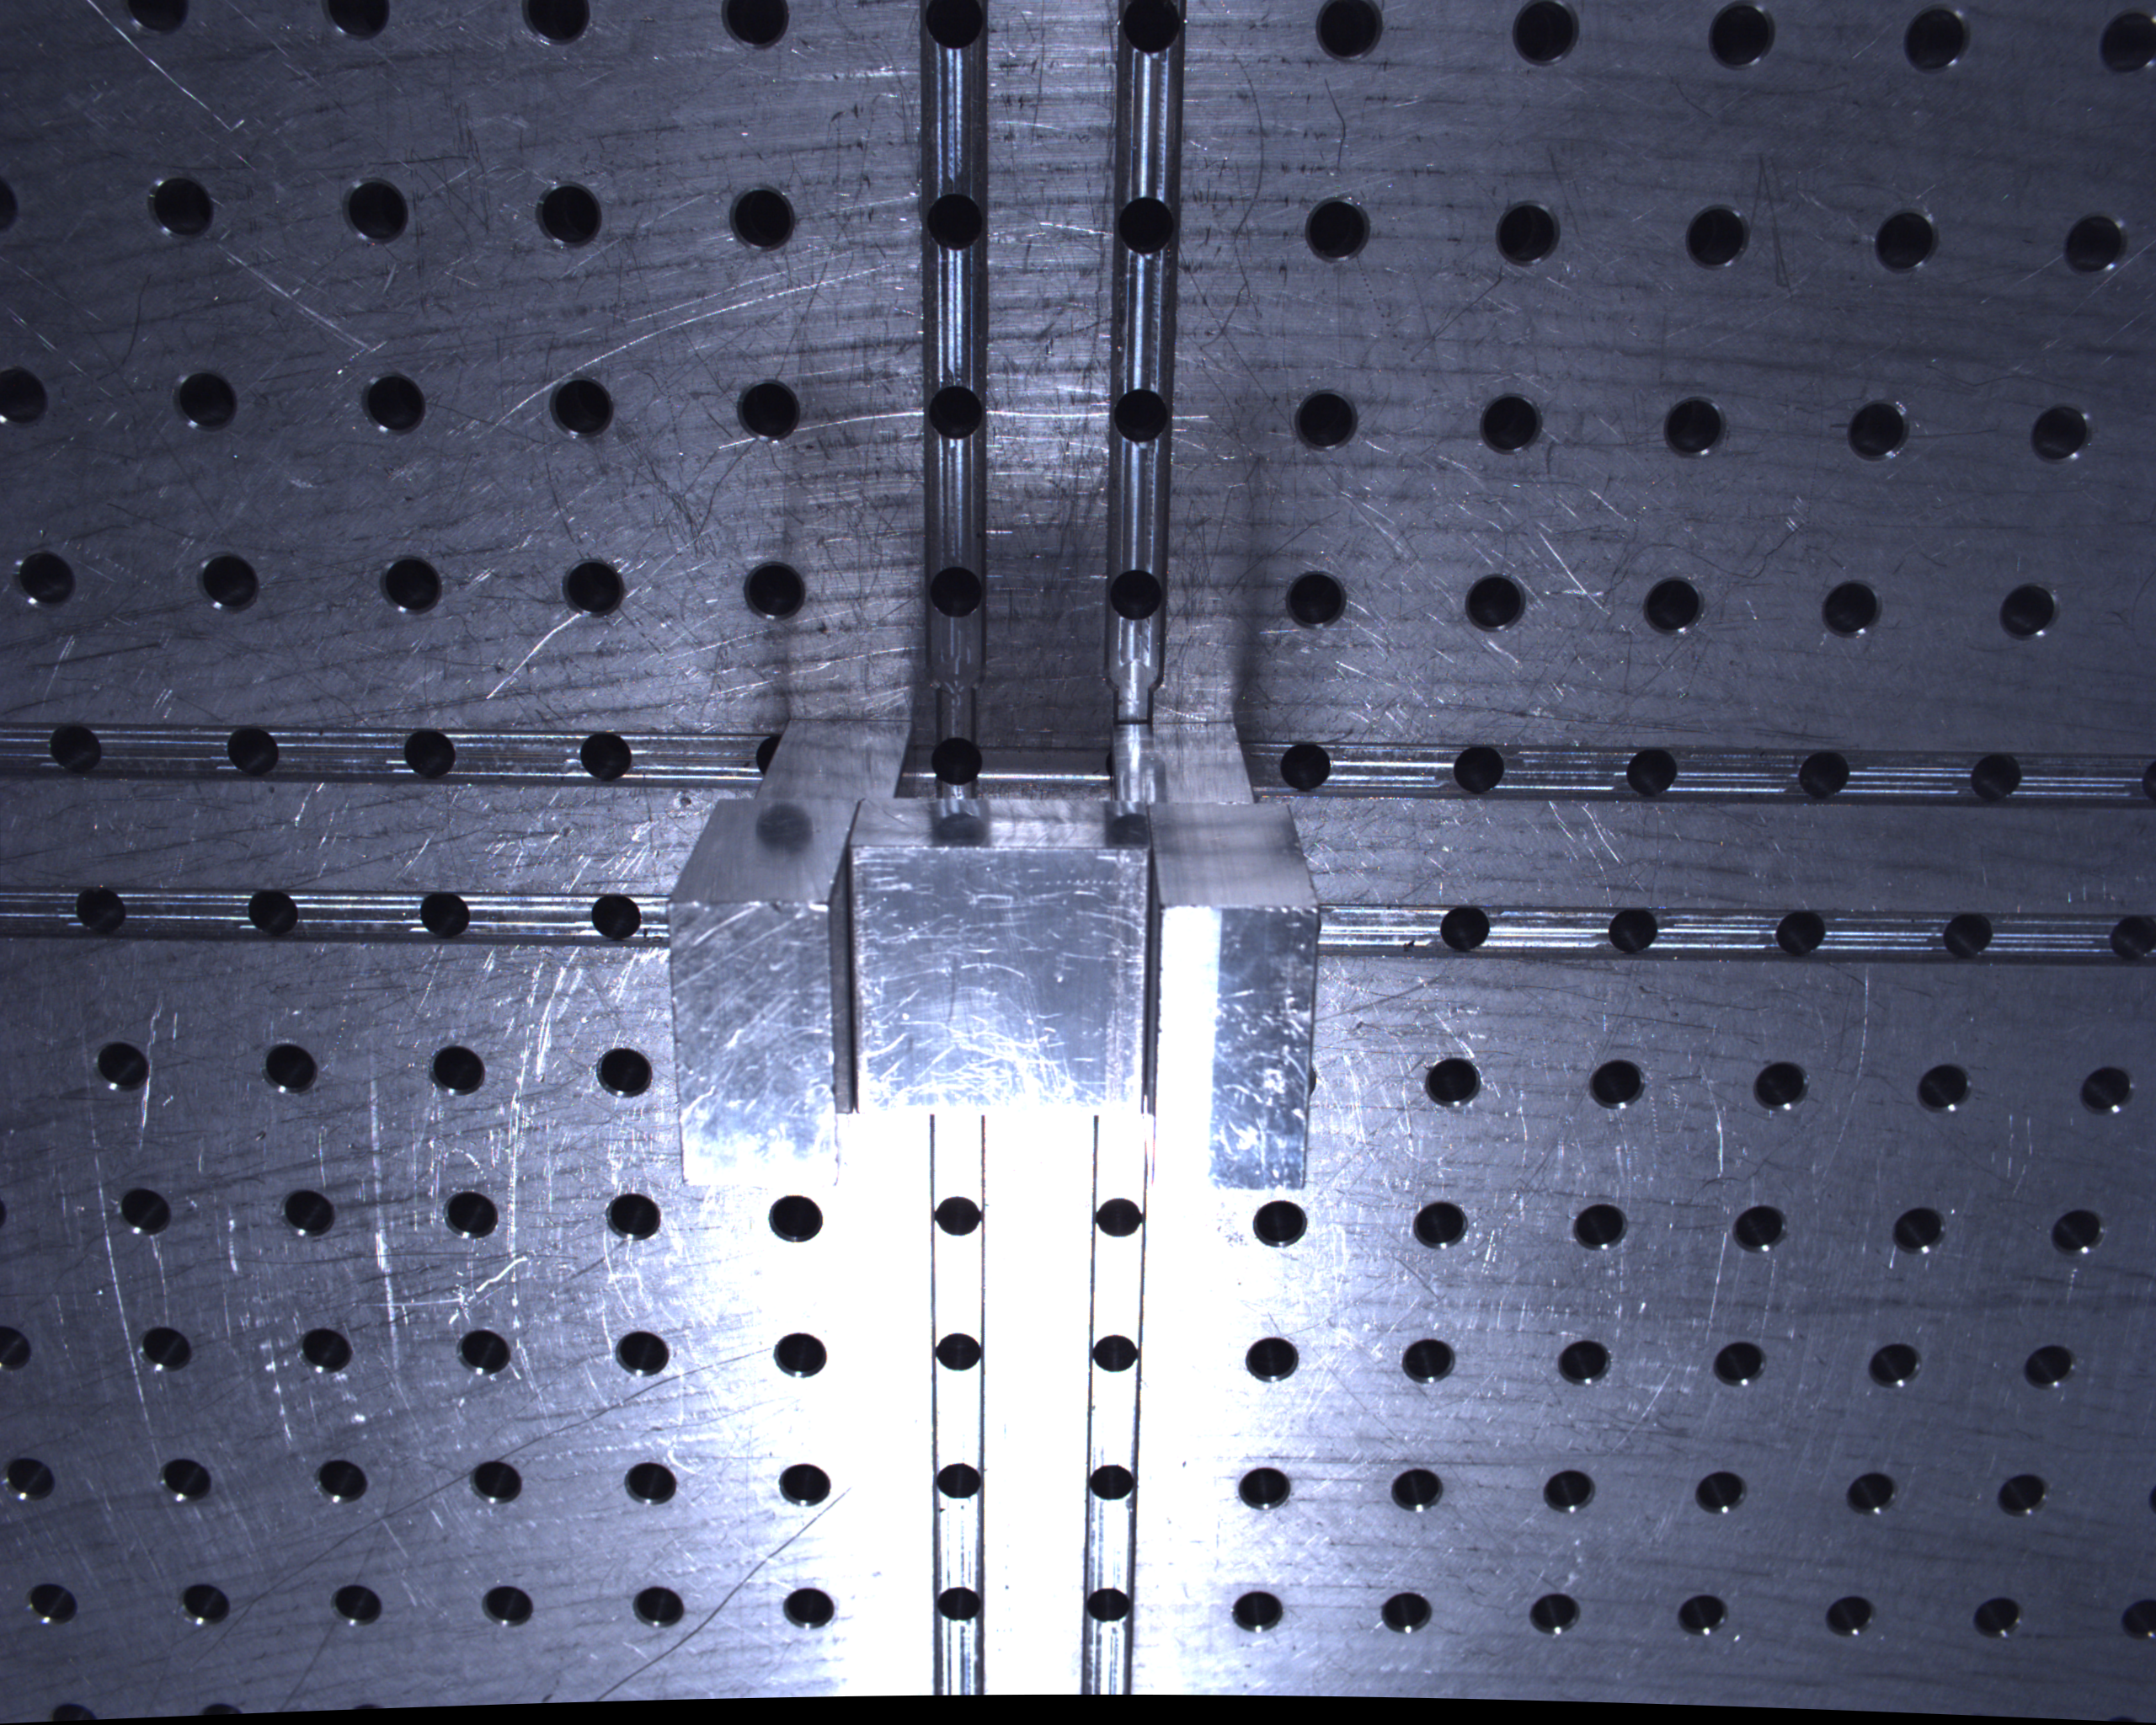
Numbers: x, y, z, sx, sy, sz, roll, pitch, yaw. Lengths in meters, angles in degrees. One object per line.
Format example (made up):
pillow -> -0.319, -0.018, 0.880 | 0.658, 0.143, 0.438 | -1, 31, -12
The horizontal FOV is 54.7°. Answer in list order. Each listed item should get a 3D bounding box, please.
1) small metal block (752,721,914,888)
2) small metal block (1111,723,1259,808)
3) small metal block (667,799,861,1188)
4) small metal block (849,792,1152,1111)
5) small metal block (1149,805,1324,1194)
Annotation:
small metal block -> -0.046, 0.004, 0.400 | 0.025, 0.050, 0.050 | 1, 110, -1
small metal block -> 0.020, 0.004, 0.401 | 0.025, 0.050, 0.050 | -1, 110, 0
small metal block -> -0.051, 0.021, 0.353 | 0.025, 0.050, 0.050 | 1, 110, 0
small metal block -> -0.013, 0.016, 0.366 | 0.050, 0.025, 0.050 | 1, 110, -1
small metal block -> 0.025, 0.022, 0.354 | 0.025, 0.050, 0.050 | 1, 110, 0
